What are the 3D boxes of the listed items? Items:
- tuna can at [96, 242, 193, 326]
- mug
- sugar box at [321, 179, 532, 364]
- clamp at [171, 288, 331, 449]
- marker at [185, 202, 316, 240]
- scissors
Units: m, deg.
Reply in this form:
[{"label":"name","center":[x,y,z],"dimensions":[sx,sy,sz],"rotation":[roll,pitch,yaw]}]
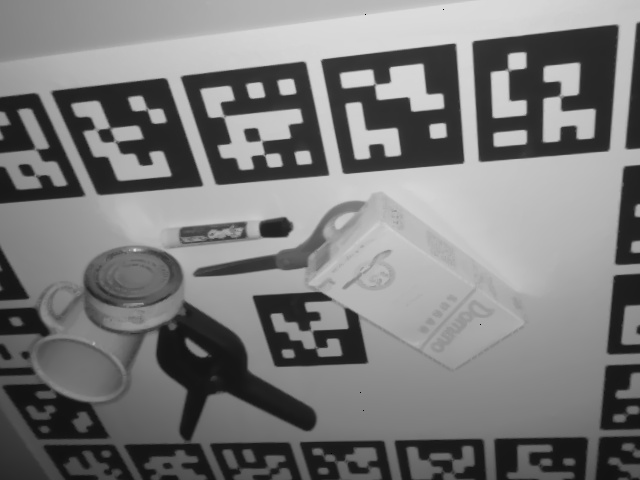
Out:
[{"label":"tuna can","center":[-0.160,0.038,0.635],"dimensions":[0.086,0.087,0.033],"rotation":[10,124,2]},{"label":"mug","center":[-0.207,0.085,0.678],"dimensions":[0.092,0.082,0.117],"rotation":[-30,117,25]},{"label":"sugar box","center":[0.096,0.034,0.614],"dimensions":[0.177,0.046,0.091],"rotation":[37,121,-22]},{"label":"clamp","center":[-0.097,0.136,0.732],"dimensions":[0.164,0.037,0.202],"rotation":[-14,119,17]},{"label":"marker","center":[-0.062,-0.017,0.626],"dimensions":[0.120,0.020,0.019],"rotation":[-8,120,13]},{"label":"scissors","center":[-0.010,0.015,0.636],"dimensions":[0.201,0.016,0.087],"rotation":[-14,124,18]}]
